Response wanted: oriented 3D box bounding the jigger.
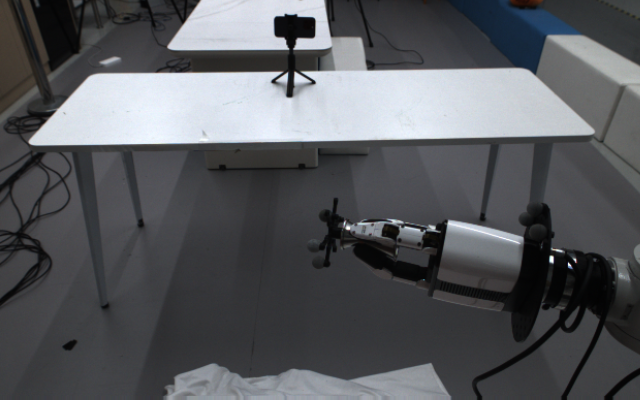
[{"bbox_3d":[0.070,0.043,0.594,0.071,0.043,0.043,8,35,16],"label":"jigger"}]
